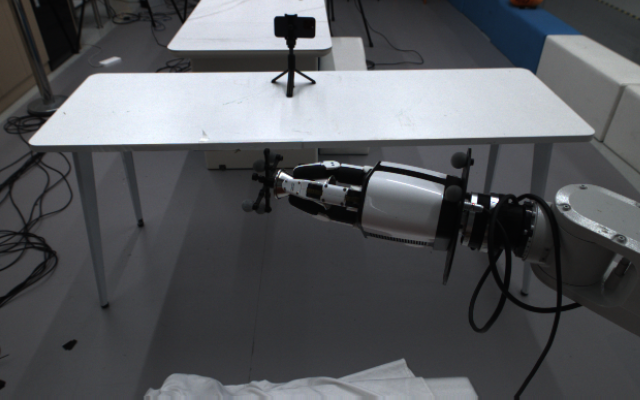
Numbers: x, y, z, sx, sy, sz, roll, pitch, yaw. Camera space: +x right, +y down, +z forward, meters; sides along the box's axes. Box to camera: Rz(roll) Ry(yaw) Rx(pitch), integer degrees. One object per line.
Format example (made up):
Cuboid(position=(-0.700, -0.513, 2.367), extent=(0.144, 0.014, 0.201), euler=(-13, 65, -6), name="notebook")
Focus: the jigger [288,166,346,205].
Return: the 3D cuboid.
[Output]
Cuboid(position=(-0.013, -0.018, 0.602), extent=(0.071, 0.043, 0.043), euler=(10, 35, 16), name="jigger")
